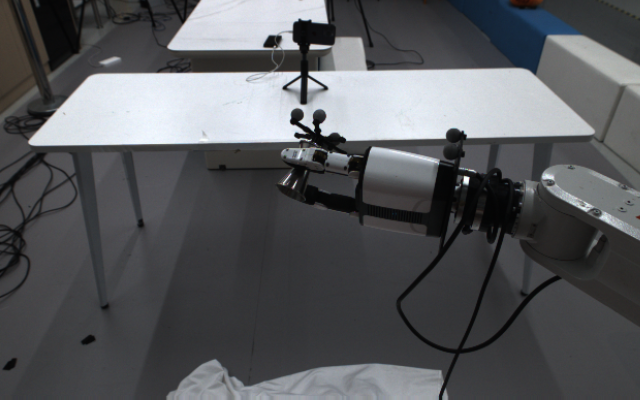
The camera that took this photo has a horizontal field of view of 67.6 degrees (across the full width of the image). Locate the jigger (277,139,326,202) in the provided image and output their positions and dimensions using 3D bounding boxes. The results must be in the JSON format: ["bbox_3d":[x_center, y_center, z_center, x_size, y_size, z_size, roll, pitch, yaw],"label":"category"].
[{"bbox_3d":[-0.025,-0.040,0.621,0.043,0.043,0.071,20,73,24],"label":"jigger"}]
